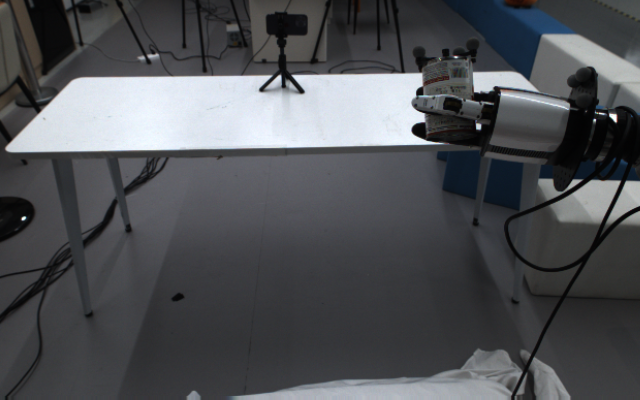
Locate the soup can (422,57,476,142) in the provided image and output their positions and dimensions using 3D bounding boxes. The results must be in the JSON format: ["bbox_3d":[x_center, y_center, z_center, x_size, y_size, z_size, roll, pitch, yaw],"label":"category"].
[{"bbox_3d":[0.175,-0.135,0.653,0.067,0.101,0.067,-3,-1,0],"label":"soup can"}]
